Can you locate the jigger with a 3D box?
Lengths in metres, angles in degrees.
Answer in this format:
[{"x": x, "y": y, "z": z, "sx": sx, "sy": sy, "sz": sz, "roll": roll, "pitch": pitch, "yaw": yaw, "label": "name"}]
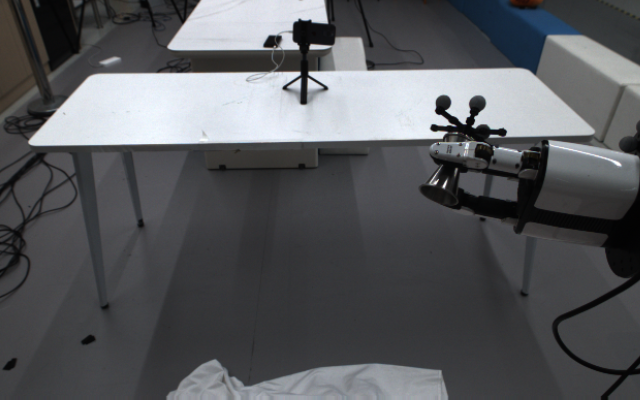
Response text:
[{"x": 0.140, "y": -0.036, "z": 0.524, "sx": 0.043, "sy": 0.043, "sz": 0.071, "roll": 20, "pitch": 73, "yaw": 24, "label": "jigger"}]
